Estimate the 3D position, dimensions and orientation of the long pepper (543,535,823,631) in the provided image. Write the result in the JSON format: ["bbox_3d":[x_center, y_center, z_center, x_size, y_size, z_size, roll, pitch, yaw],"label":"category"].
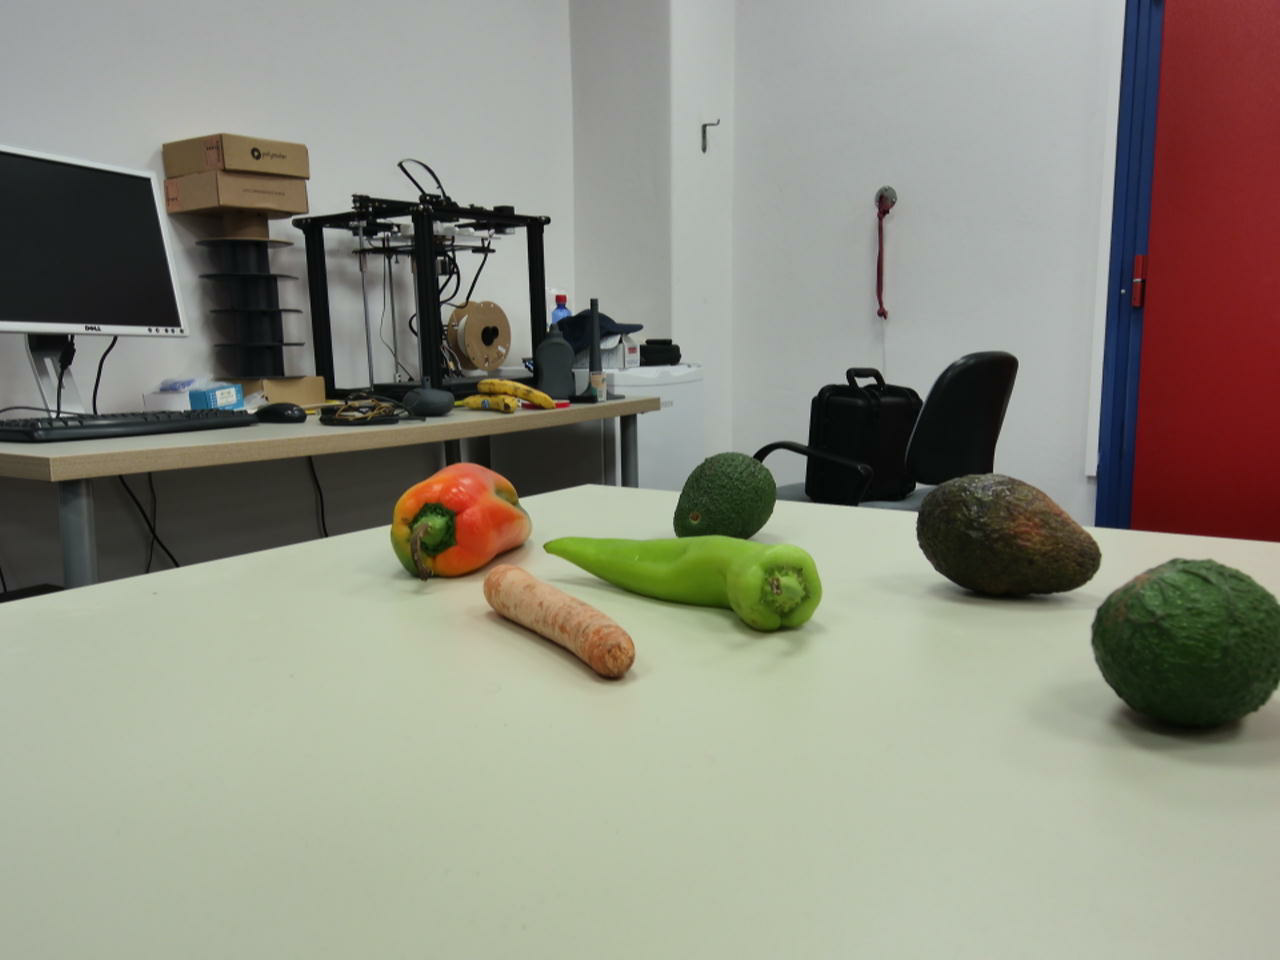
[{"bbox_3d":[0.026,0.049,0.569,0.065,0.045,0.205,-4,7,-38],"label":"long pepper"}]
